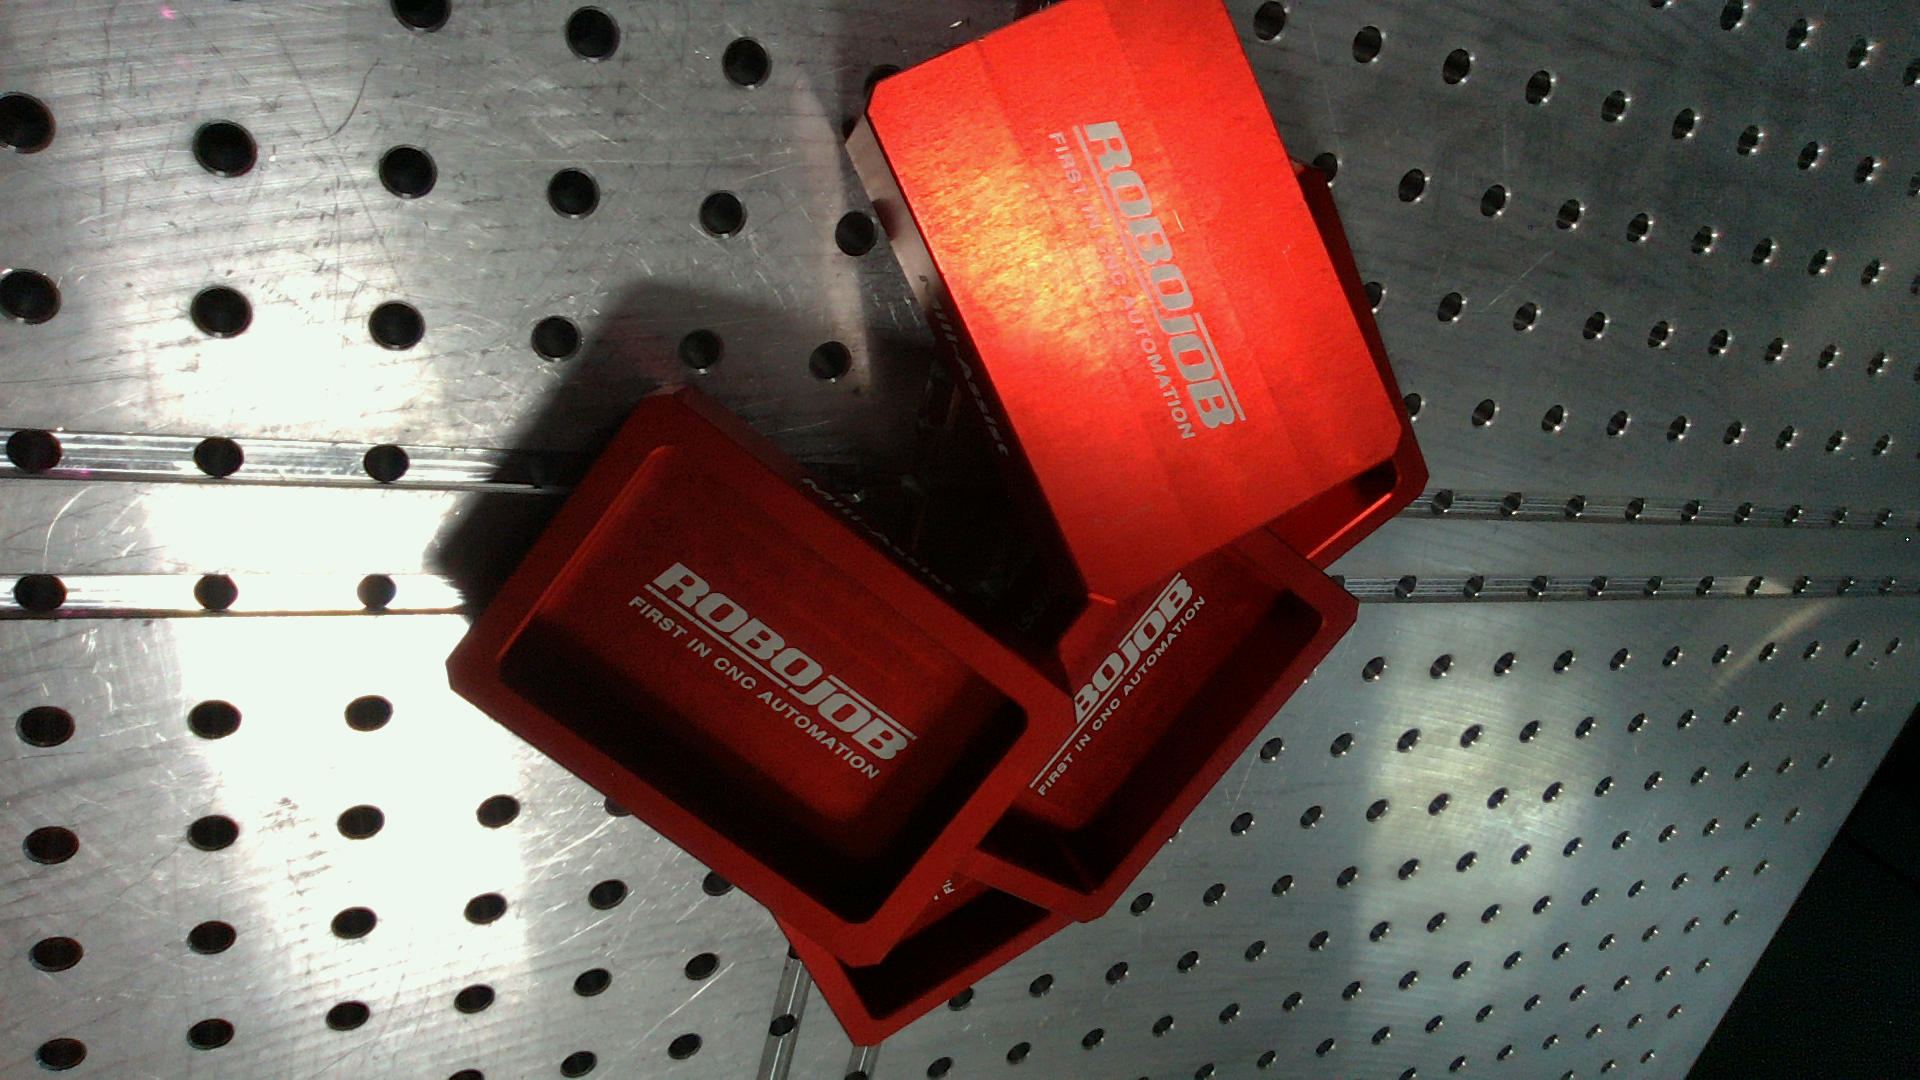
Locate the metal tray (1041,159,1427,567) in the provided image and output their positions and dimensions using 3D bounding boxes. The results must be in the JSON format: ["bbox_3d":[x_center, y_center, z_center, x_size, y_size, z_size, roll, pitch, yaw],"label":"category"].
[{"bbox_3d":[0.081,-0.039,0.408,0.090,0.030,0.130,-37,129,-3],"label":"metal tray"}]

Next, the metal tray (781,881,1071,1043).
[{"bbox_3d":[-0.019,0.094,0.436,0.090,0.030,0.130,-29,128,-10],"label":"metal tray"}]

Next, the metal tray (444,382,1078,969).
[{"bbox_3d":[-0.047,0.034,0.345,0.130,0.030,0.090,37,98,-8],"label":"metal tray"}]

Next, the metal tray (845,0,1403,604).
[{"bbox_3d":[0.041,-0.061,0.334,0.090,0.030,0.130,-27,98,-11],"label":"metal tray"}]

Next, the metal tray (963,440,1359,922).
[{"bbox_3d":[0.045,0.045,0.402,0.090,0.030,0.130,32,100,-38],"label":"metal tray"}]
